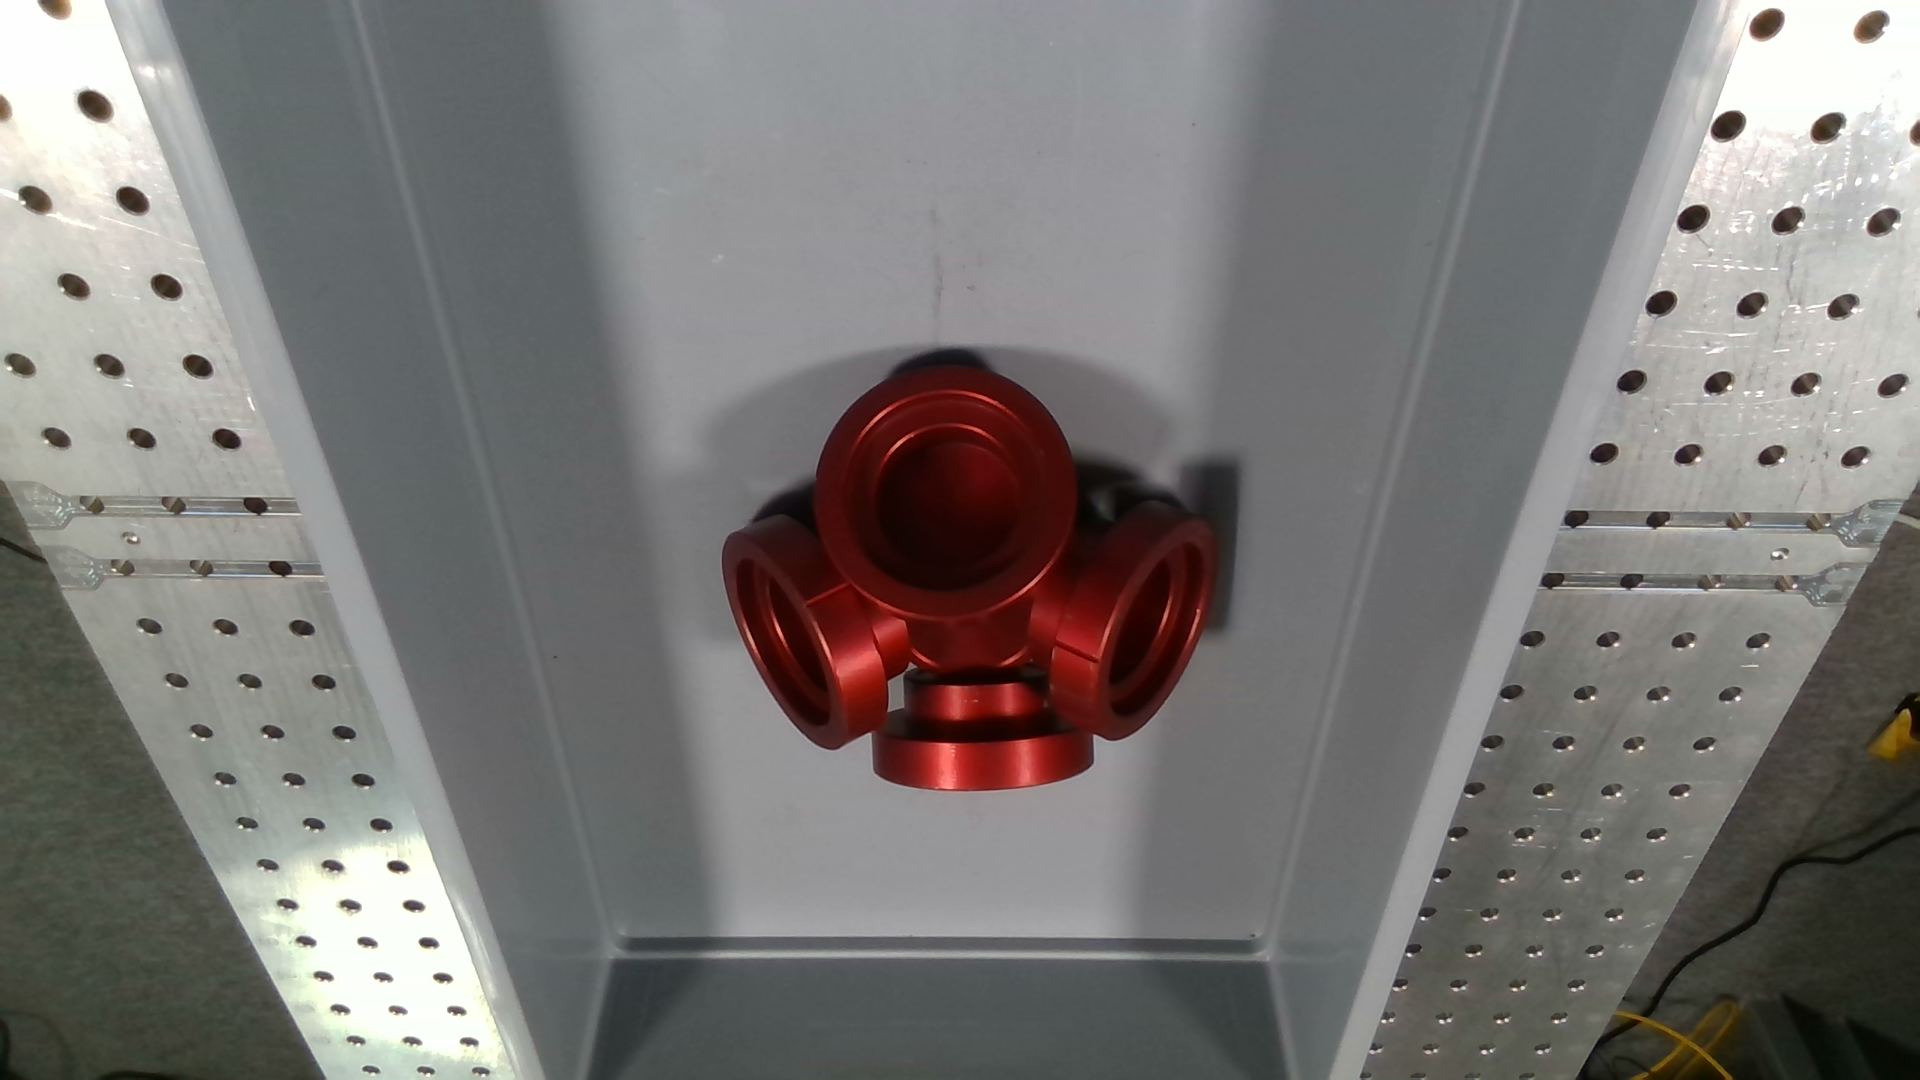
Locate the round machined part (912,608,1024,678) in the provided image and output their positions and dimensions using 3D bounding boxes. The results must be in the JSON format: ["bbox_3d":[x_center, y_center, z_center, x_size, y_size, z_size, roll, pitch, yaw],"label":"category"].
[{"bbox_3d":[0.004,0.020,0.583,0.098,0.042,0.098,0,130,0],"label":"round machined part"}]

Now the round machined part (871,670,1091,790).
[{"bbox_3d":[0.009,0.078,0.609,0.098,0.098,0.042,-2,94,2],"label":"round machined part"}]

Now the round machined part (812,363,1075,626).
[{"bbox_3d":[-0.005,-0.015,0.530,0.098,0.098,0.042,-5,167,4],"label":"round machined part"}]

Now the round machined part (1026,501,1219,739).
[{"bbox_3d":[0.064,0.029,0.566,0.042,0.098,0.098,24,138,30],"label":"round machined part"}]

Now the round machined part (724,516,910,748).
[{"bbox_3d":[-0.057,0.033,0.570,0.042,0.098,0.098,-26,136,-26],"label":"round machined part"}]
